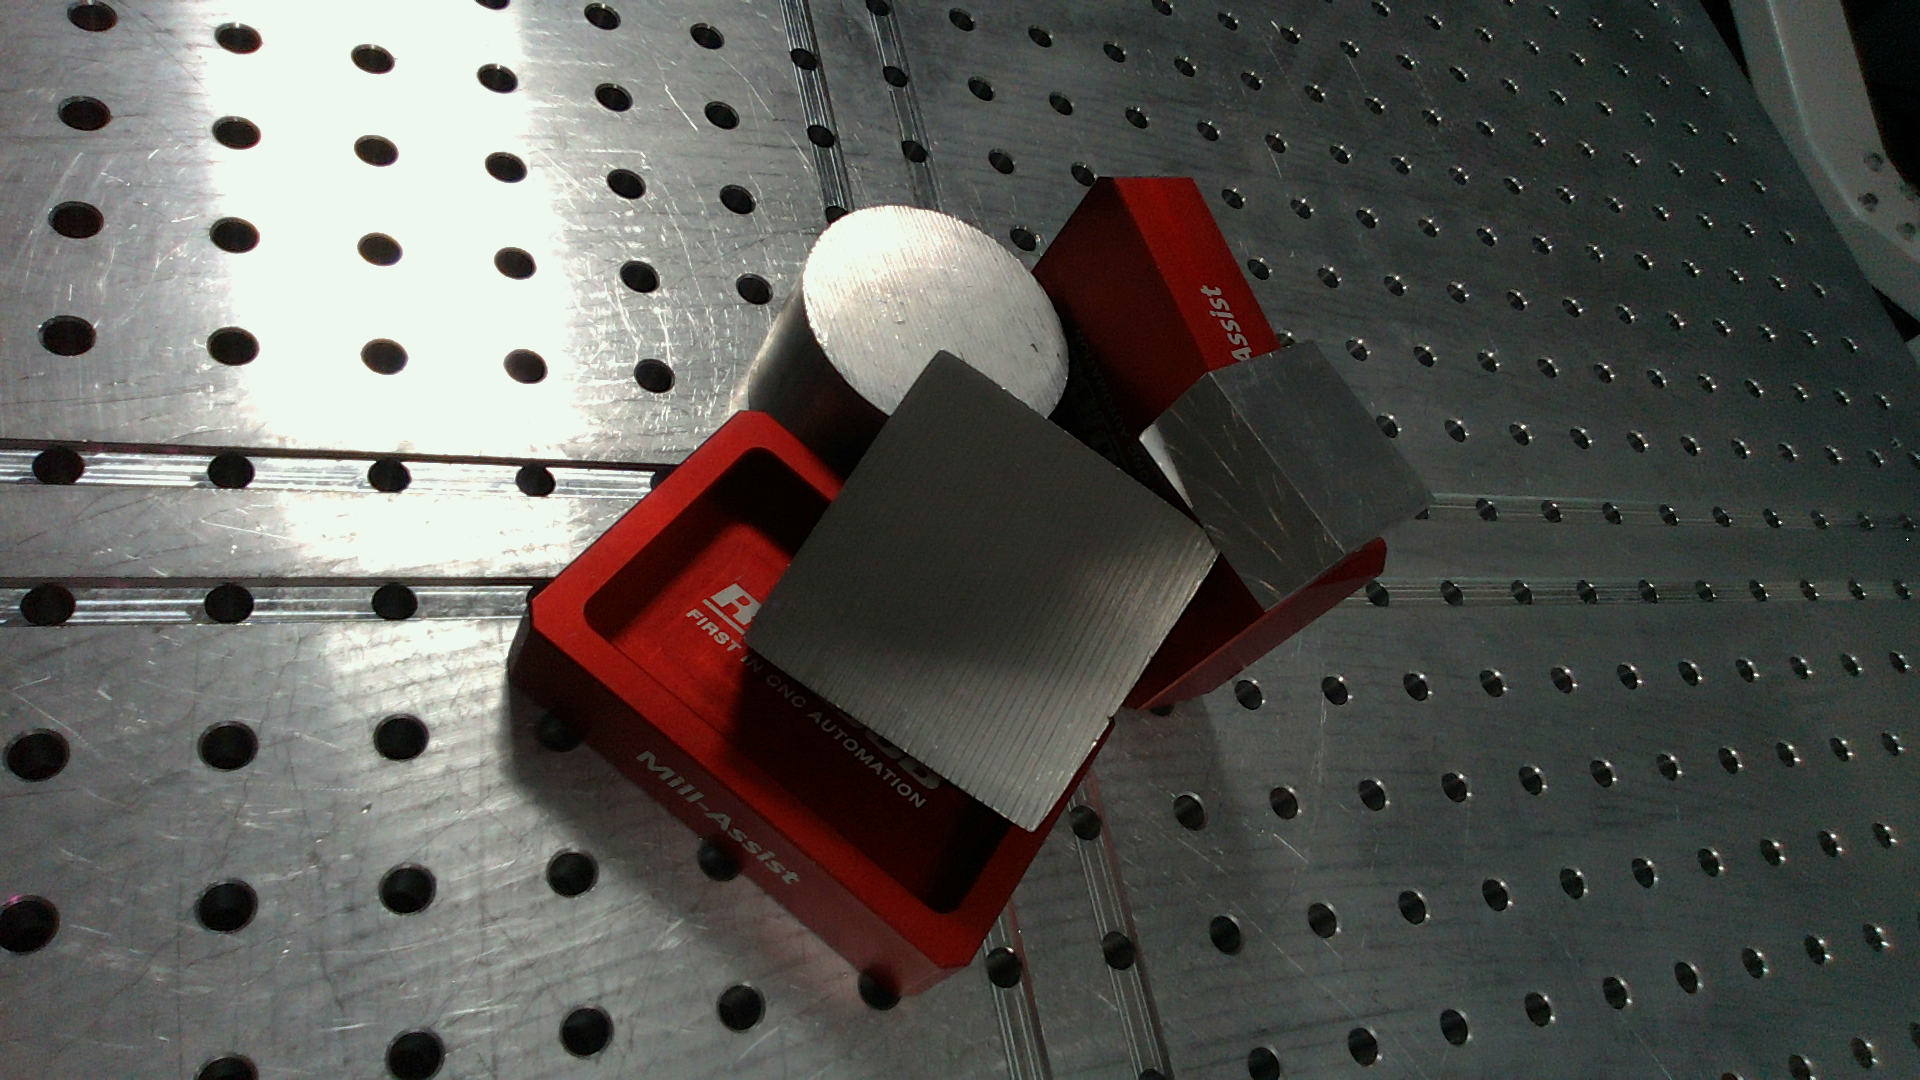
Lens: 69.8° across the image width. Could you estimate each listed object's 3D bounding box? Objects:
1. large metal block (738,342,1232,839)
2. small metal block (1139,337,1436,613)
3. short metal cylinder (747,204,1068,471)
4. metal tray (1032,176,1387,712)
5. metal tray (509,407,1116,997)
[{"bbox_3d":[0.004,0.011,0.332,0.080,0.050,0.080,34,87,-6],"label":"large metal block"},{"bbox_3d":[0.078,-0.017,0.324,0.050,0.025,0.050,-22,74,-48],"label":"small metal block"},{"bbox_3d":[-0.016,-0.049,0.398,0.080,0.050,0.080,14,56,-21],"label":"short metal cylinder"},{"bbox_3d":[0.057,-0.027,0.398,0.030,0.090,0.130,-9,66,-32],"label":"metal tray"},{"bbox_3d":[-0.034,0.038,0.347,0.130,0.030,0.090,40,51,-1],"label":"metal tray"}]
